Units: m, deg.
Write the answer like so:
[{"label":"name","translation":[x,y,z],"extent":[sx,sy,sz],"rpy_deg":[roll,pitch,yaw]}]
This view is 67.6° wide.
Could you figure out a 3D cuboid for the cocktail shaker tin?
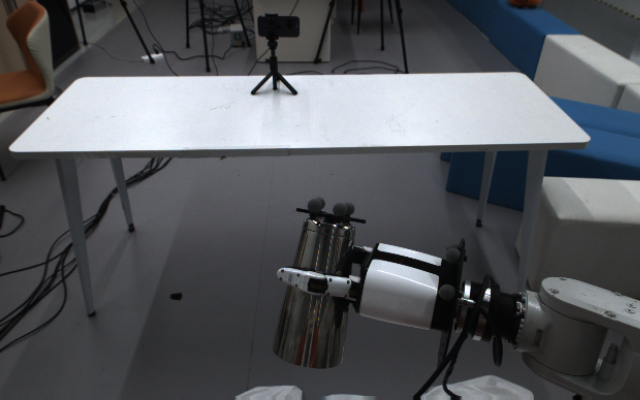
[{"label":"cocktail shaker tin","translation":[0.000,0.112,0.613],"extent":[0.093,0.170,0.093],"rpy_deg":[10,3,-1]}]
